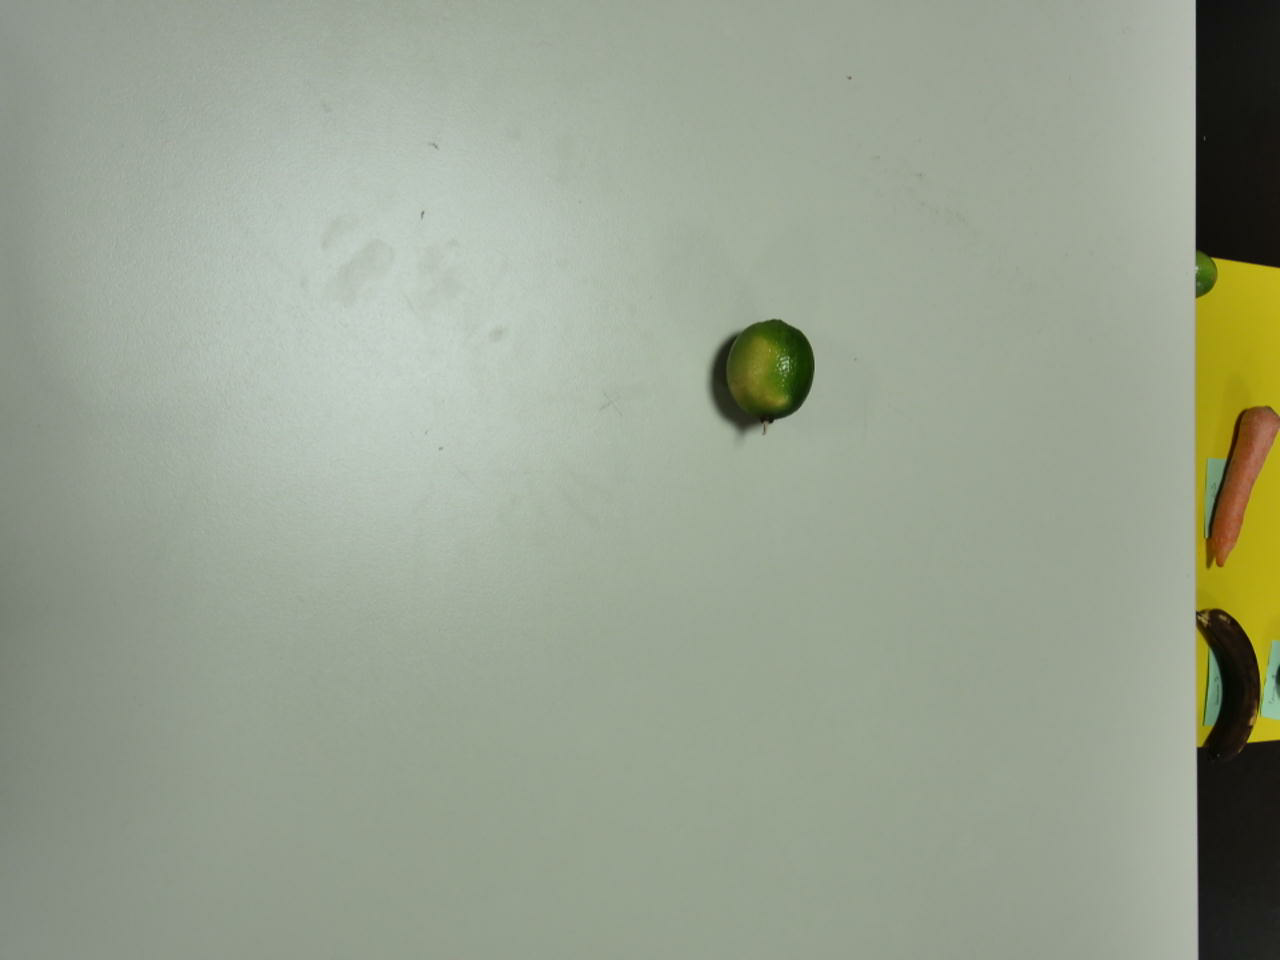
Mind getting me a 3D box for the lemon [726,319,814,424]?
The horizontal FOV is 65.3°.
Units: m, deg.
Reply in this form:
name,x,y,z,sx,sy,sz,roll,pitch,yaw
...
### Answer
name,x,y,z,sx,sy,sz,roll,pitch,yaw
lemon,0.076,-0.064,0.583,0.055,0.050,0.054,-42,105,-16
